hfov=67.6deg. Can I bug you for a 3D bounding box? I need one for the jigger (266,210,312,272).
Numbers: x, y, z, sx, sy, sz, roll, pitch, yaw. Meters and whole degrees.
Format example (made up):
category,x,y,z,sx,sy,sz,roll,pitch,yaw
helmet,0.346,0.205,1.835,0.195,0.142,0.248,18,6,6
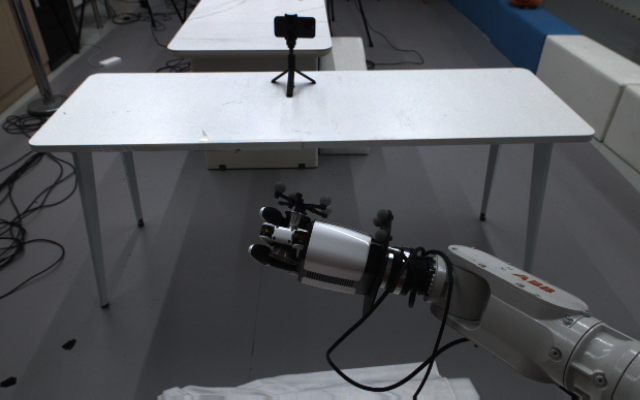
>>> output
category,x,y,z,sx,sy,sz,roll,pitch,yaw
jigger,-0.039,0.053,0.700,0.043,0.043,0.071,12,71,14
